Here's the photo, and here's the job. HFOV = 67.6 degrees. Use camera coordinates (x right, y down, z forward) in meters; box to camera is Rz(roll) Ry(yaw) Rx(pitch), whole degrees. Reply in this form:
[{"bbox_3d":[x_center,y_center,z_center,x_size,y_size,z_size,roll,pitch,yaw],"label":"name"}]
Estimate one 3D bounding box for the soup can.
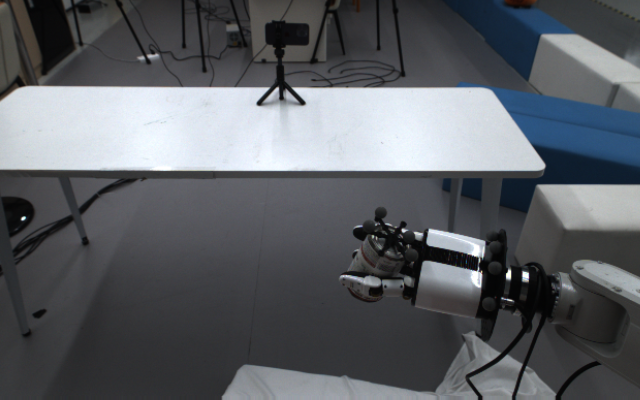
[{"bbox_3d":[0.085,0.093,0.708,0.067,0.101,0.067,14,39,-12],"label":"soup can"}]
